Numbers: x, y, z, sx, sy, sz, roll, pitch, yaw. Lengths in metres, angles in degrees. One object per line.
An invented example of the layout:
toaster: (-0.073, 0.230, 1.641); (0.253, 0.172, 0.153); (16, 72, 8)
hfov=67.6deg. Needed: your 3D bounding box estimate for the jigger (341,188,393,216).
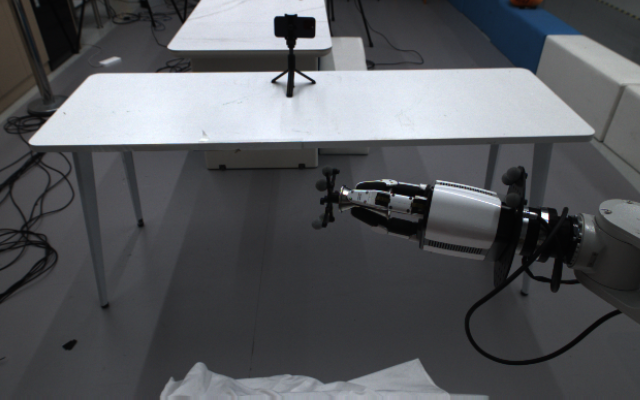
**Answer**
jigger: (0.069, -0.001, 0.663); (0.071, 0.043, 0.043); (6, 35, 14)
